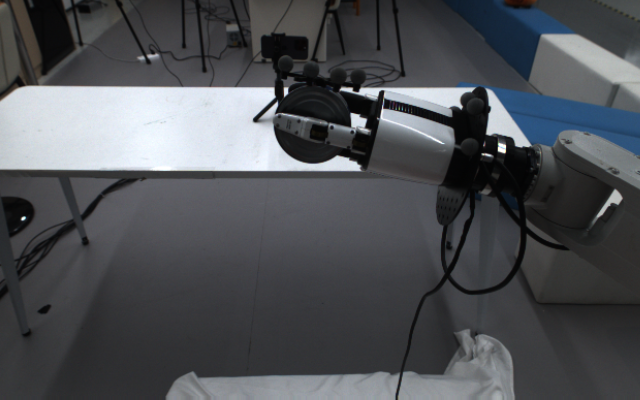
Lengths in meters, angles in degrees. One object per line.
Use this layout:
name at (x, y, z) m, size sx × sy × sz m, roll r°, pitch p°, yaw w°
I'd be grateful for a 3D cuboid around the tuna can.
tuna can at (-0.006, -0.088, 0.545) m, size 0.085 × 0.085 × 0.034 m, roll 5°, pitch 18°, yaw 4°
